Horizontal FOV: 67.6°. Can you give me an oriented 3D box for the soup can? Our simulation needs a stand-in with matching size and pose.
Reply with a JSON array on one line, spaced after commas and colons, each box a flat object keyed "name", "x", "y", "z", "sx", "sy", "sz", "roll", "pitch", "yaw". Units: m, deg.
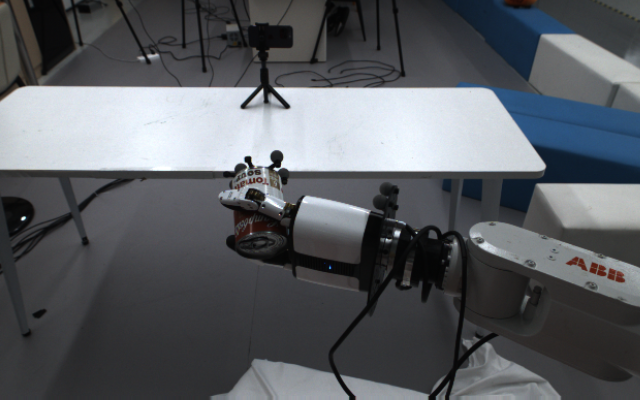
[{"name": "soup can", "x": -0.076, "y": 0.016, "z": 0.621, "sx": 0.067, "sy": 0.067, "sz": 0.101, "roll": -5, "pitch": 57, "yaw": -9}]
